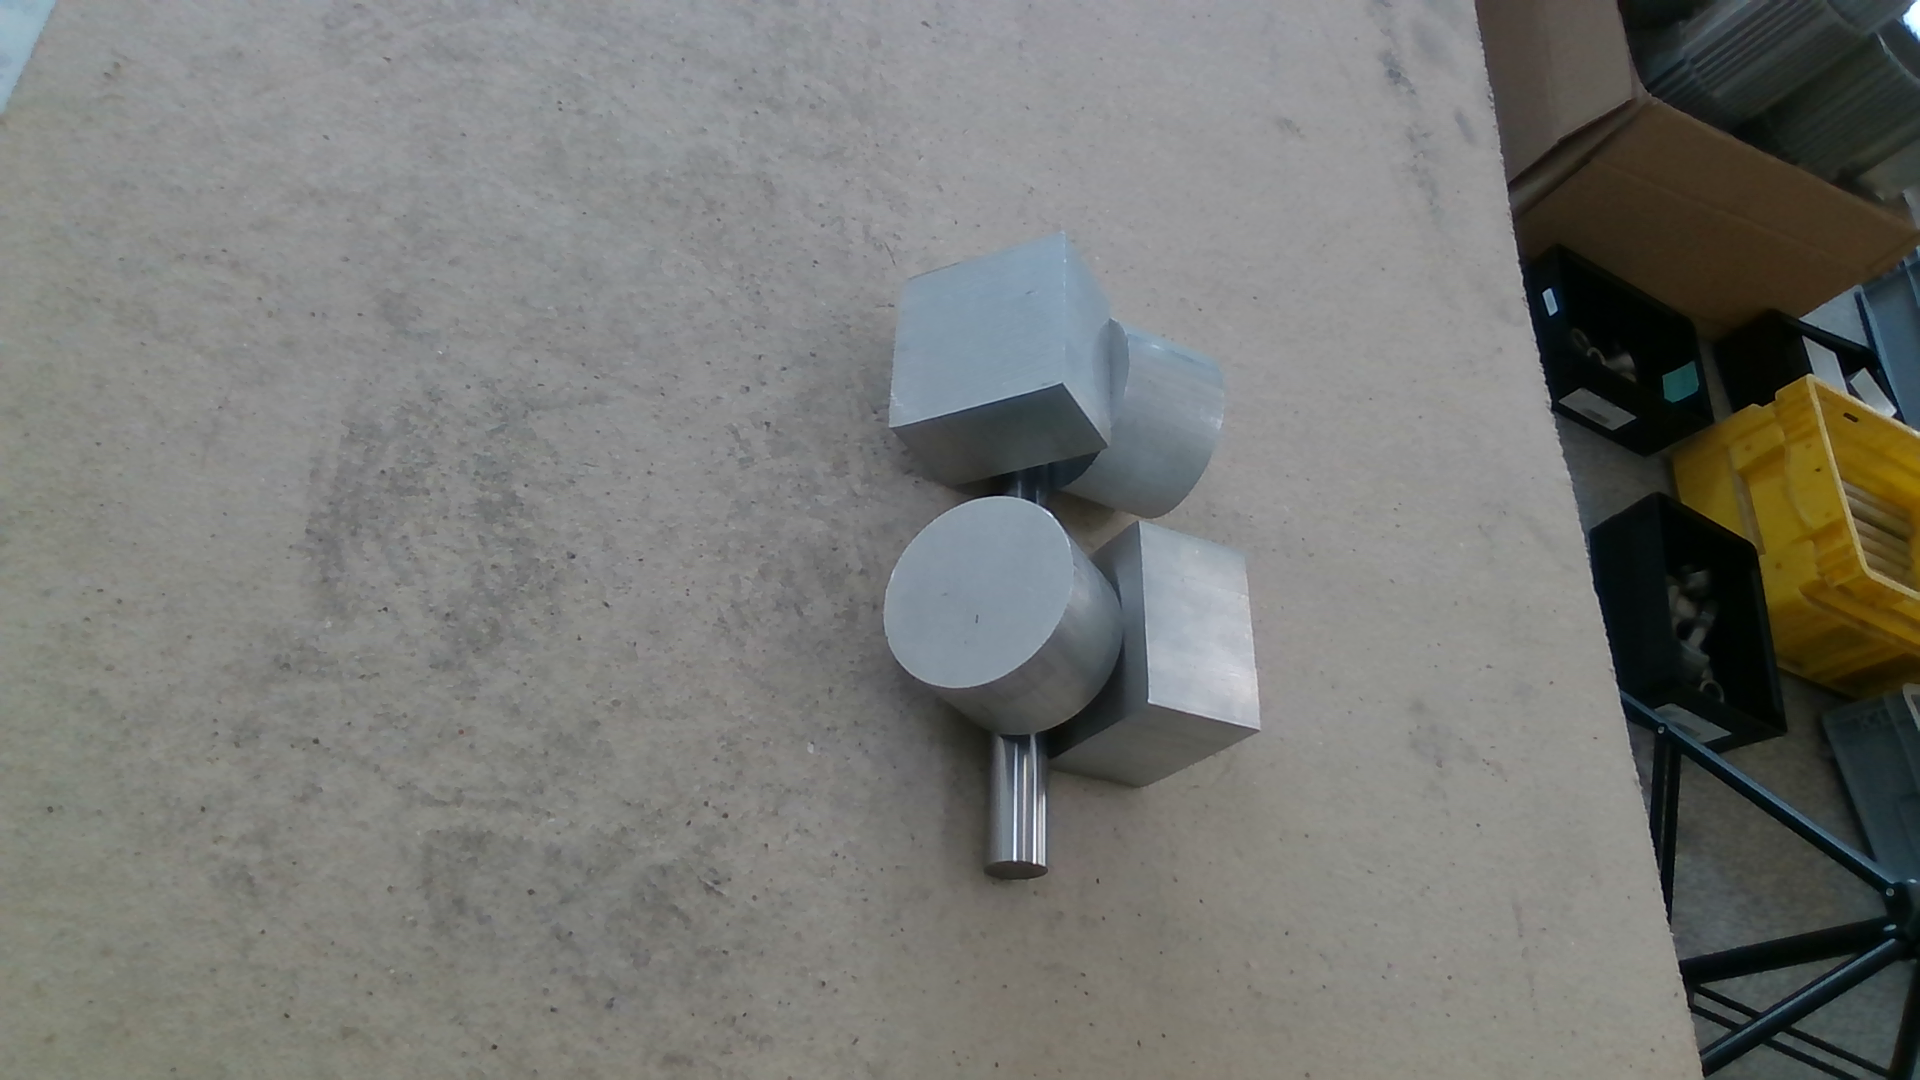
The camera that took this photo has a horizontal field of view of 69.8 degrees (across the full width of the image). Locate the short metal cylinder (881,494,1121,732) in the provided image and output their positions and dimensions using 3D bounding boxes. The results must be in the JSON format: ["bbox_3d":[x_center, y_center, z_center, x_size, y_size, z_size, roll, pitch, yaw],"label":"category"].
[{"bbox_3d":[0.016,0.029,0.538,0.050,0.080,0.080,45,40,-51],"label":"short metal cylinder"}]

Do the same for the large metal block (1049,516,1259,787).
[{"bbox_3d":[0.075,0.048,0.571,0.050,0.080,0.080,16,58,-24],"label":"large metal block"}]

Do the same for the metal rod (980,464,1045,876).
[{"bbox_3d":[0.025,-0.003,0.606,0.025,0.025,0.299,16,58,-24],"label":"metal rod"}]

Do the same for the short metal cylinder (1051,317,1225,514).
[{"bbox_3d":[0.076,-0.056,0.627,0.050,0.080,0.080,17,57,-23],"label":"short metal cylinder"}]

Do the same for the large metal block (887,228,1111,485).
[{"bbox_3d":[0.018,-0.077,0.596,0.050,0.080,0.080,44,41,-50],"label":"large metal block"}]
